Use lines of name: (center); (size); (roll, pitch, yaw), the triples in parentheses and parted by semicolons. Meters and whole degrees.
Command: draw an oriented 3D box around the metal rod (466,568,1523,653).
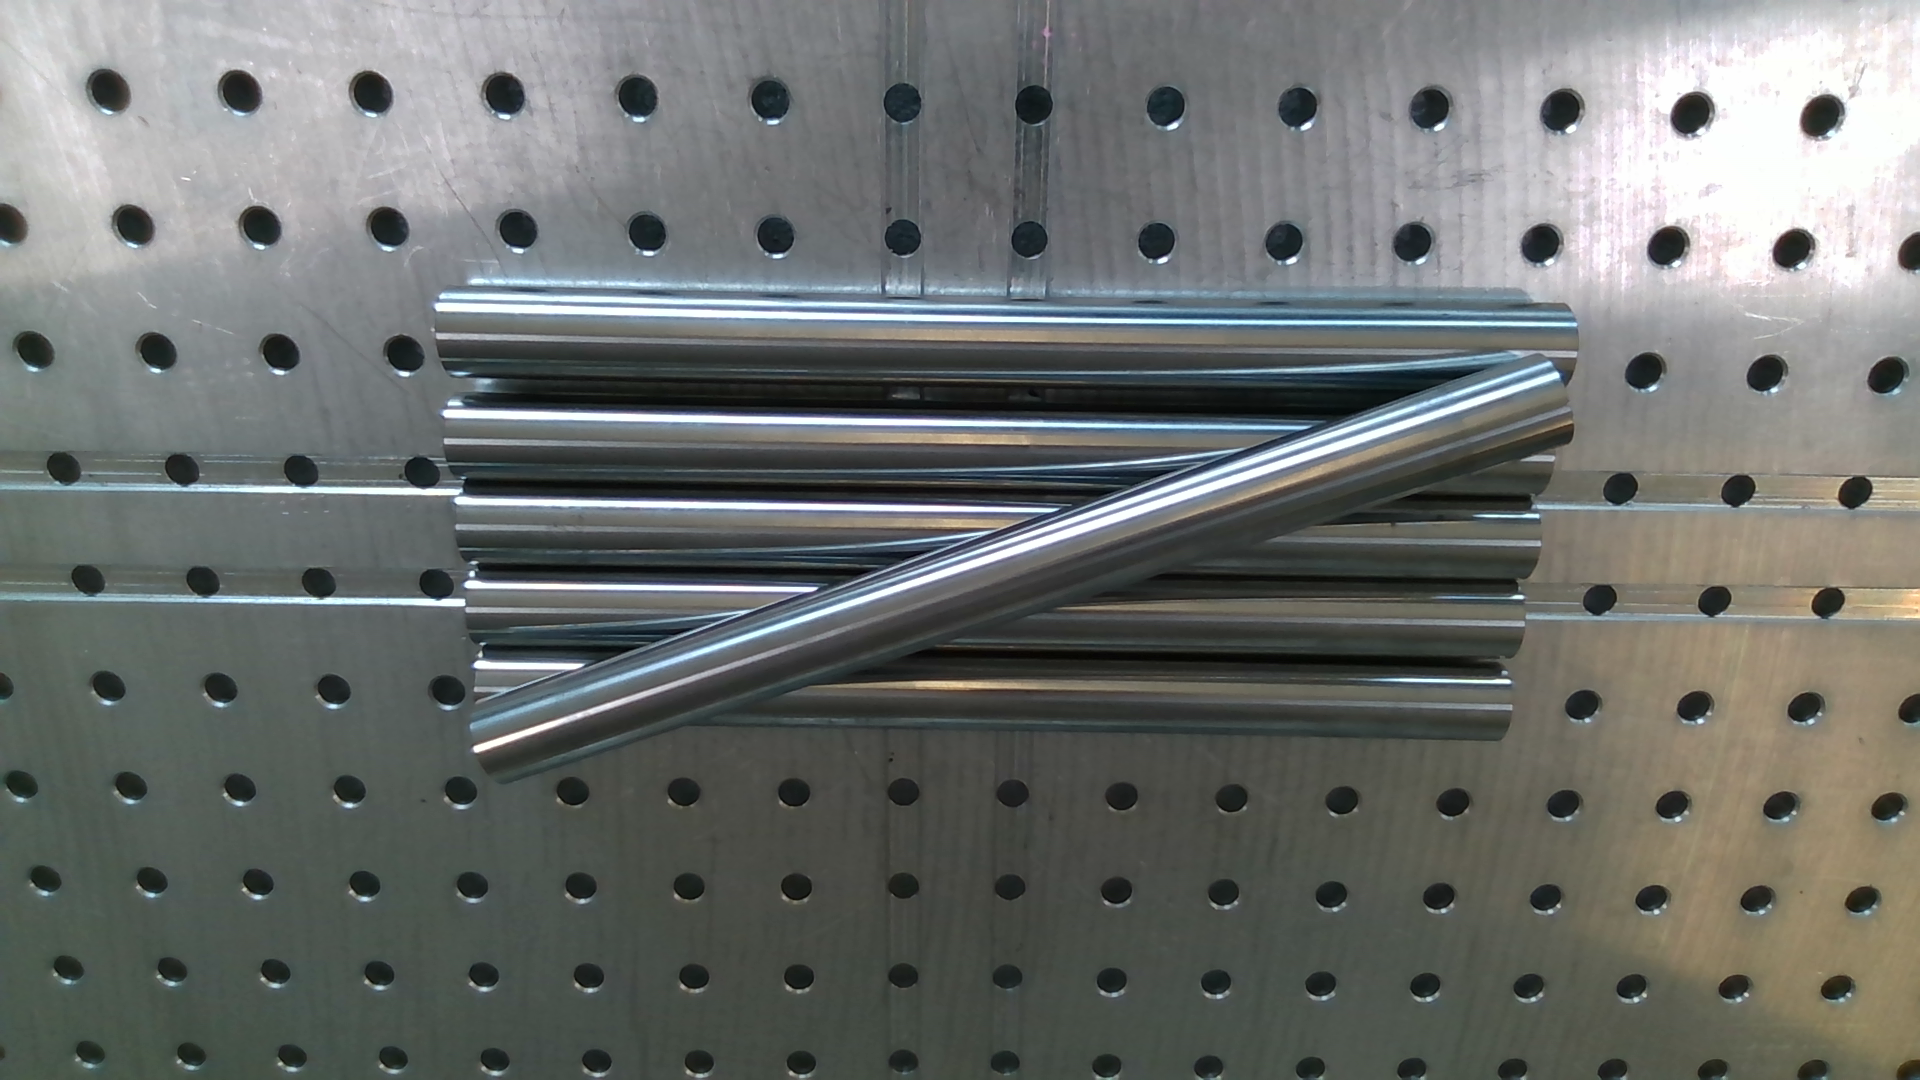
metal rod: (0.010, 0.019, 0.403); (0.300, 0.025, 0.025); (1, 110, 0)

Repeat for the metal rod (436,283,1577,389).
metal rod: (0.012, -0.055, 0.374); (0.300, 0.025, 0.025); (1, 110, 0)

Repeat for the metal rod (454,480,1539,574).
metal rod: (0.010, -0.005, 0.393); (0.300, 0.025, 0.025); (1, 110, 0)

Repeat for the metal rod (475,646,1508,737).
metal rod: (0.010, 0.044, 0.412); (0.300, 0.025, 0.025); (1, 110, 0)

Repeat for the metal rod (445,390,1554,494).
metal rod: (0.011, -0.027, 0.384); (0.300, 0.025, 0.025); (1, 110, 0)

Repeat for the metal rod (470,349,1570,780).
metal rod: (0.010, 0.009, 0.372); (0.300, 0.025, 0.025); (-18, 109, 7)
